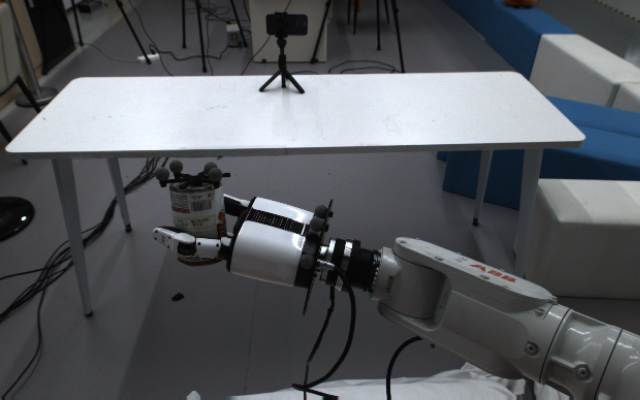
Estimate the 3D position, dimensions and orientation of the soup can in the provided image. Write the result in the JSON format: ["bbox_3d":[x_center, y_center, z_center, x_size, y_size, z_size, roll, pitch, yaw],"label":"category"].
[{"bbox_3d":[-0.155,0.027,0.627,0.067,0.101,0.067,-2,17,0],"label":"soup can"}]
